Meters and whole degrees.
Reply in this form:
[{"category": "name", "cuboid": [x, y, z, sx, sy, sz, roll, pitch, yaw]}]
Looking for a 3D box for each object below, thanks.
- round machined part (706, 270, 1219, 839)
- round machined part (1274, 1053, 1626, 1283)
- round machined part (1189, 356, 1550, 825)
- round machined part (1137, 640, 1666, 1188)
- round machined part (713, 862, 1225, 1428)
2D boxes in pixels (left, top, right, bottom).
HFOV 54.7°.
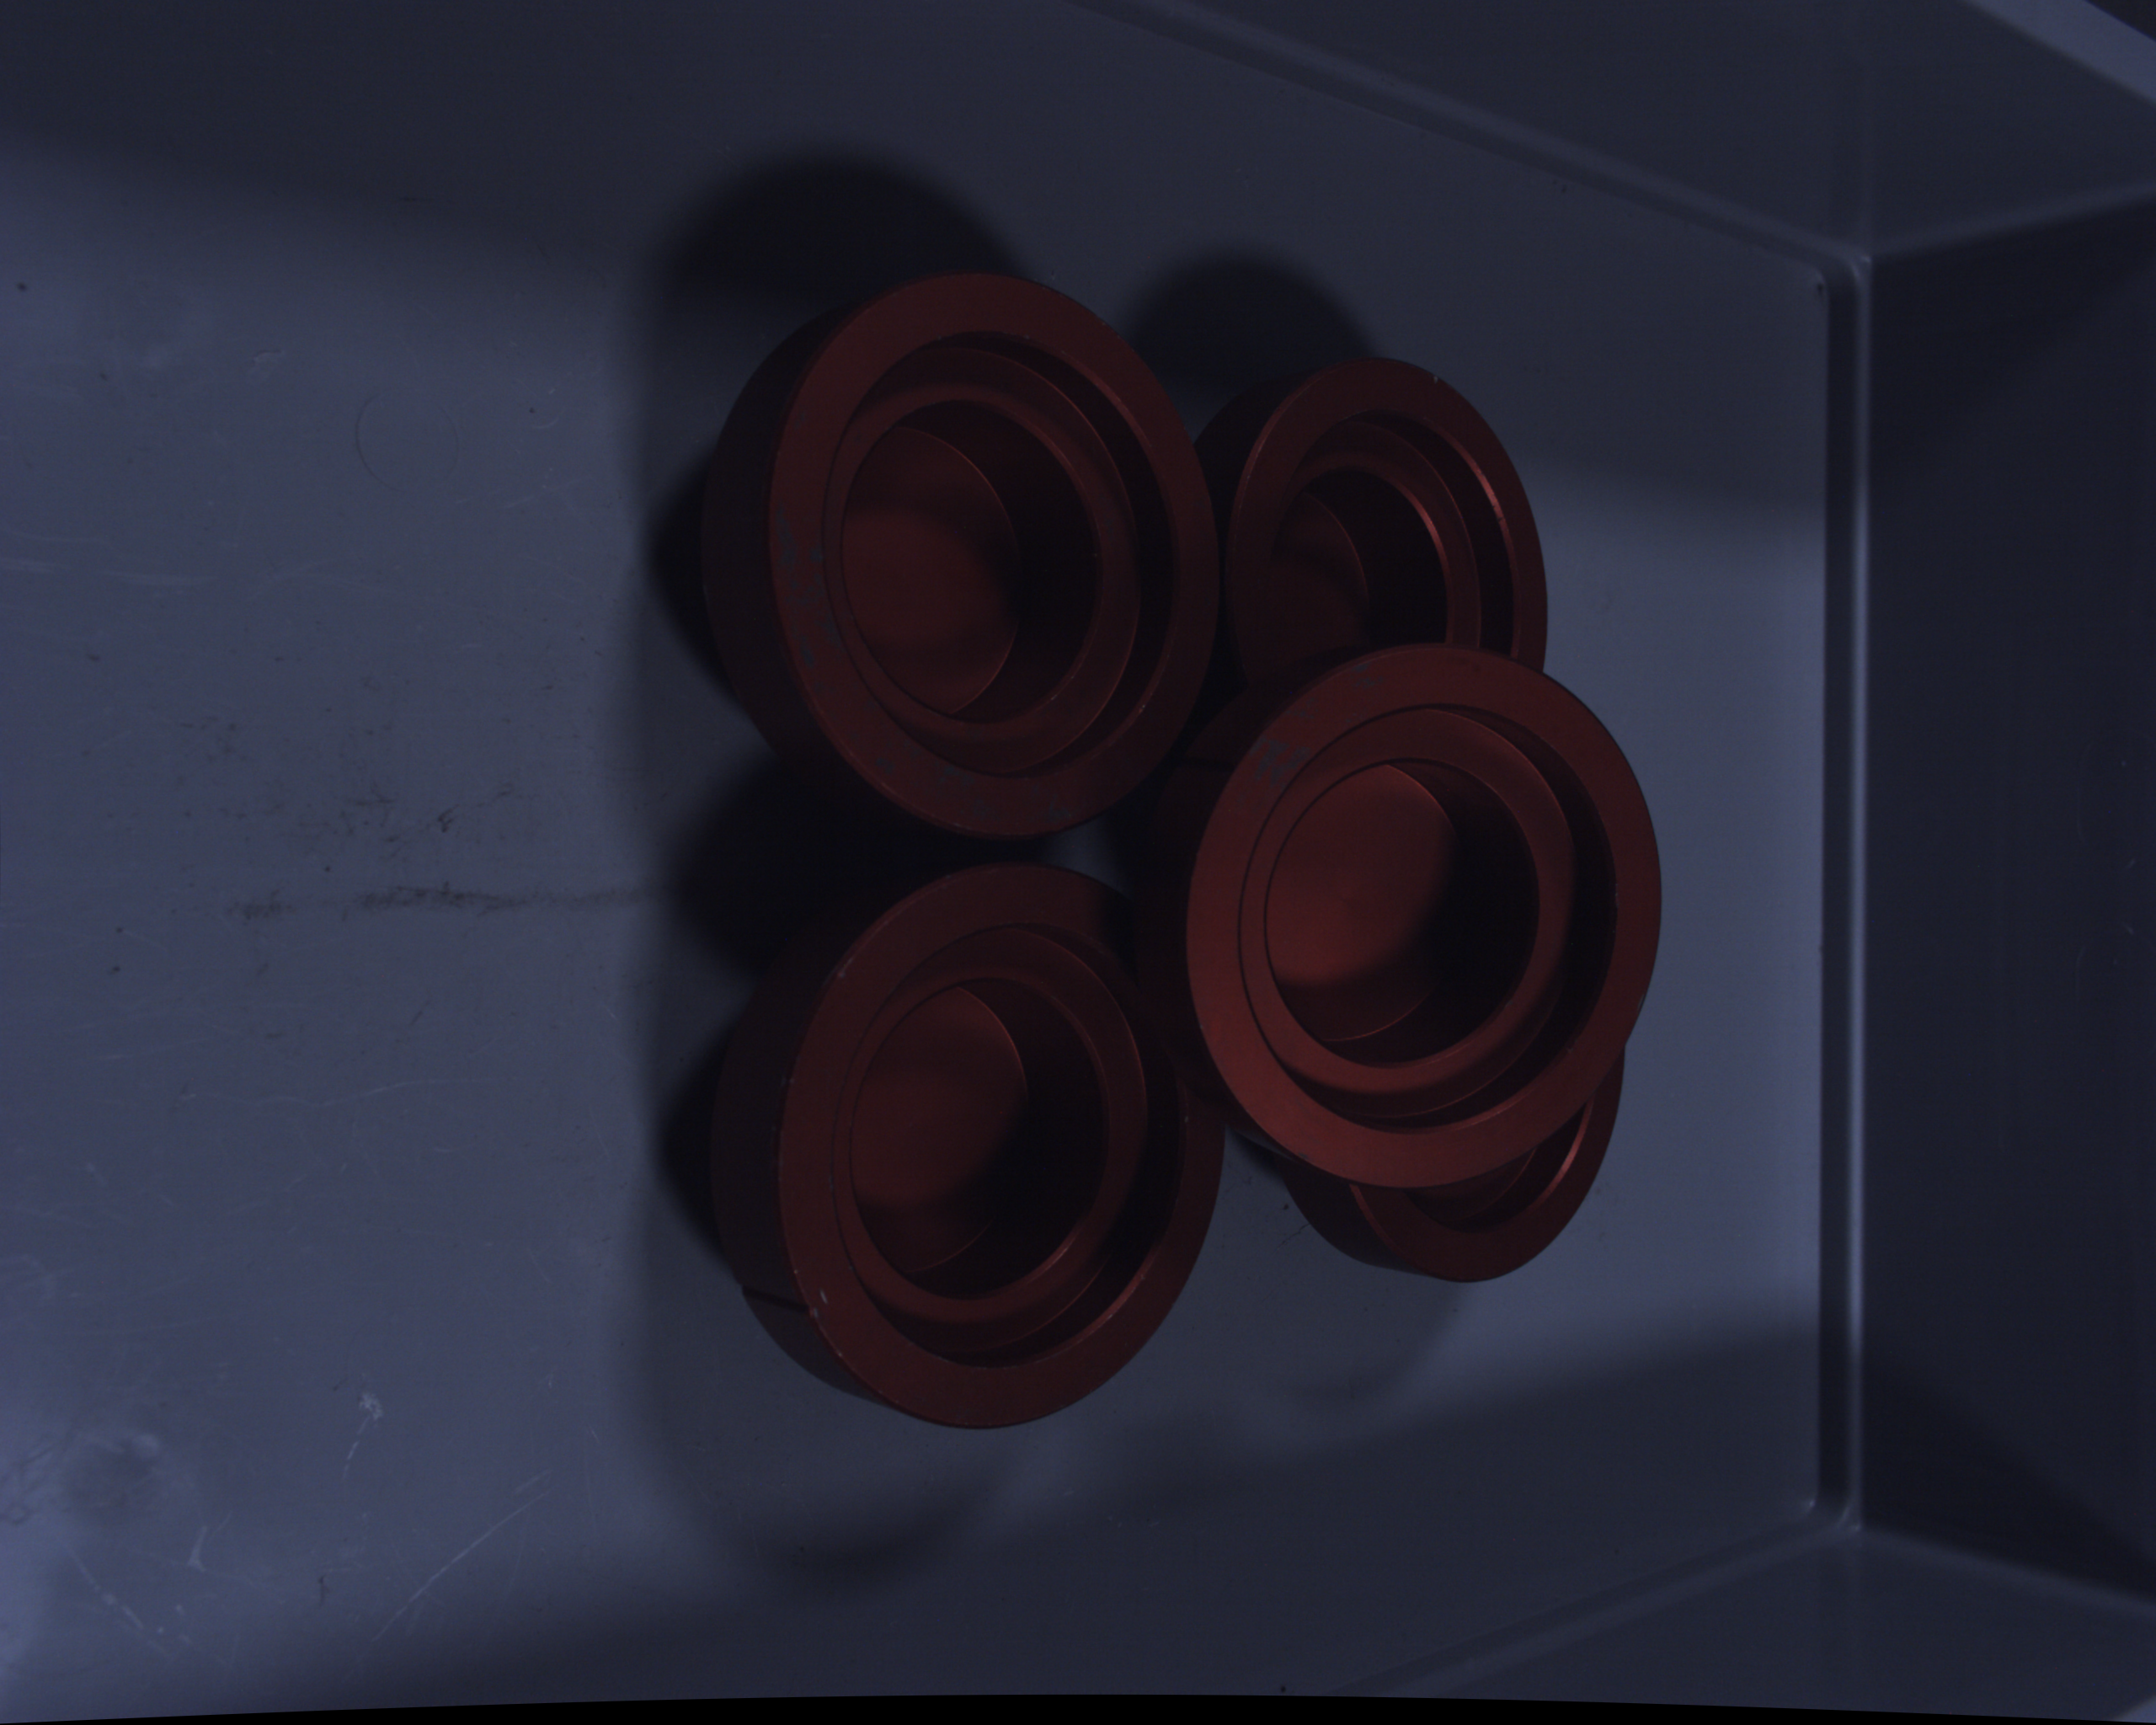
[{"category": "round machined part", "cuboid": [-0.024, -0.053, 0.375, 0.099, 0.042, 0.097, 0, 90, -40]}, {"category": "round machined part", "cuboid": [0.074, 0.040, 0.458, 0.099, 0.042, 0.097, 0, 90, -40]}, {"category": "round machined part", "cuboid": [0.053, -0.054, 0.440, 0.099, 0.042, 0.097, 0, 90, -40]}, {"category": "round machined part", "cuboid": [0.056, 0.008, 0.387, 0.099, 0.042, 0.097, -2, 96, -22]}, {"category": "round machined part", "cuboid": [-0.023, 0.048, 0.376, 0.099, 0.042, 0.097, 0, 90, -40]}]
